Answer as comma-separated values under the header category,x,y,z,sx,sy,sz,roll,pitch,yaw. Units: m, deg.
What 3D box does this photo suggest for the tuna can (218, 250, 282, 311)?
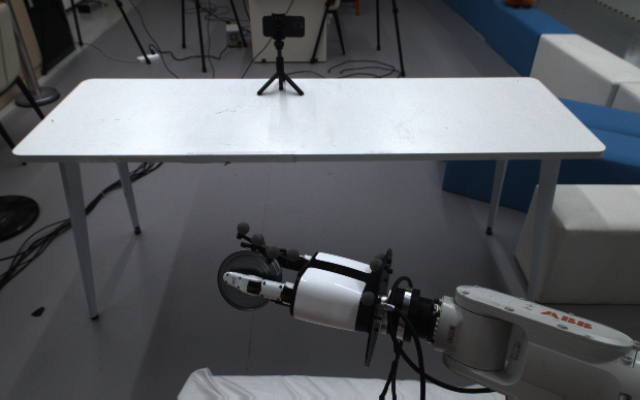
category,x,y,z,sx,sy,sz,roll,pitch,yaw
tuna can,-0.095,0.110,0.677,0.085,0.085,0.034,10,4,11
